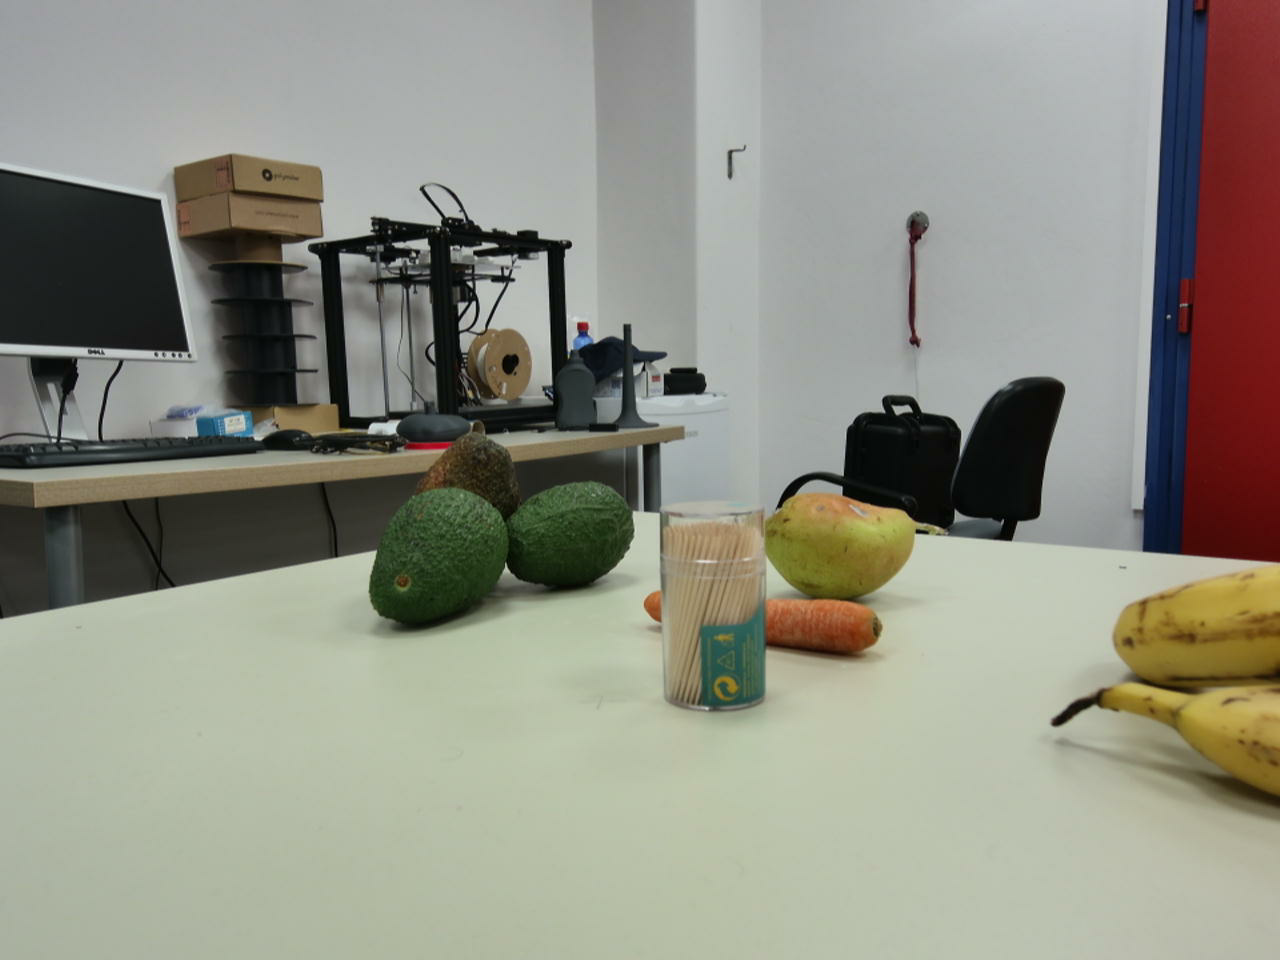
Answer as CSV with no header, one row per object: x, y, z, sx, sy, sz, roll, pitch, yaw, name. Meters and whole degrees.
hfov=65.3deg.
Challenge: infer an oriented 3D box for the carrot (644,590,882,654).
0.054,0.065,0.475,0.122,0.023,0.024,3,4,34,carrot
